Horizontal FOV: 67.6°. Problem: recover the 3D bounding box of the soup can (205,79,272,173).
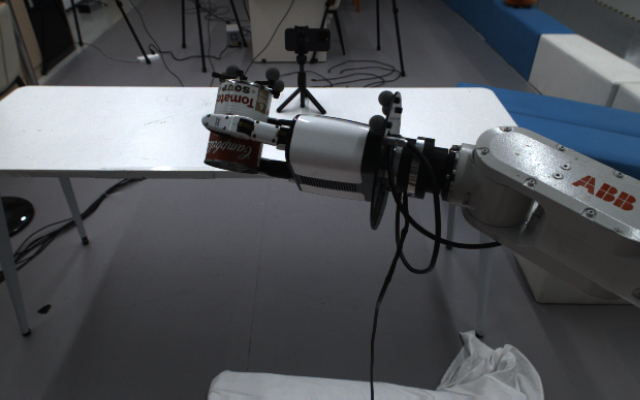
[{"bbox_3d":[-0.099,-0.088,0.598,0.067,0.101,0.067,9,-5,1],"label":"soup can"}]
